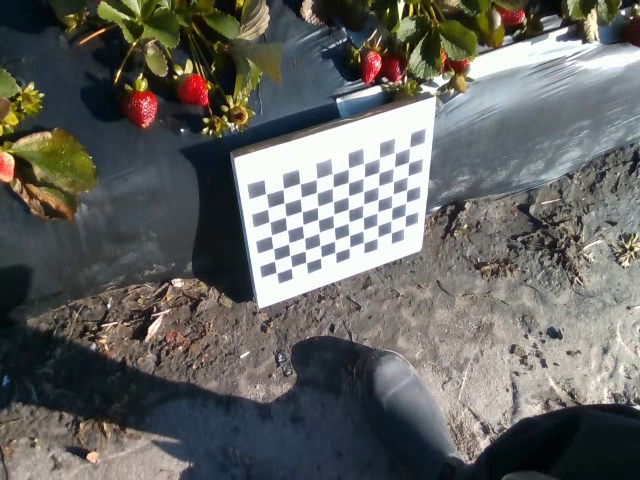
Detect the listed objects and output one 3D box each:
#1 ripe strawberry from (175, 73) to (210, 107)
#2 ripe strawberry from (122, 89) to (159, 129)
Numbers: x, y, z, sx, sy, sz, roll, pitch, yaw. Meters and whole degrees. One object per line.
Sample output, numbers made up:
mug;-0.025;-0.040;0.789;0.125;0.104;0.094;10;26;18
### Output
ripe strawberry;-0.154;-0.182;0.809;0.042;0.049;0.039;-47;-16;18
ripe strawberry;-0.219;-0.154;0.788;0.050;0.050;0.045;-6;-26;-29
